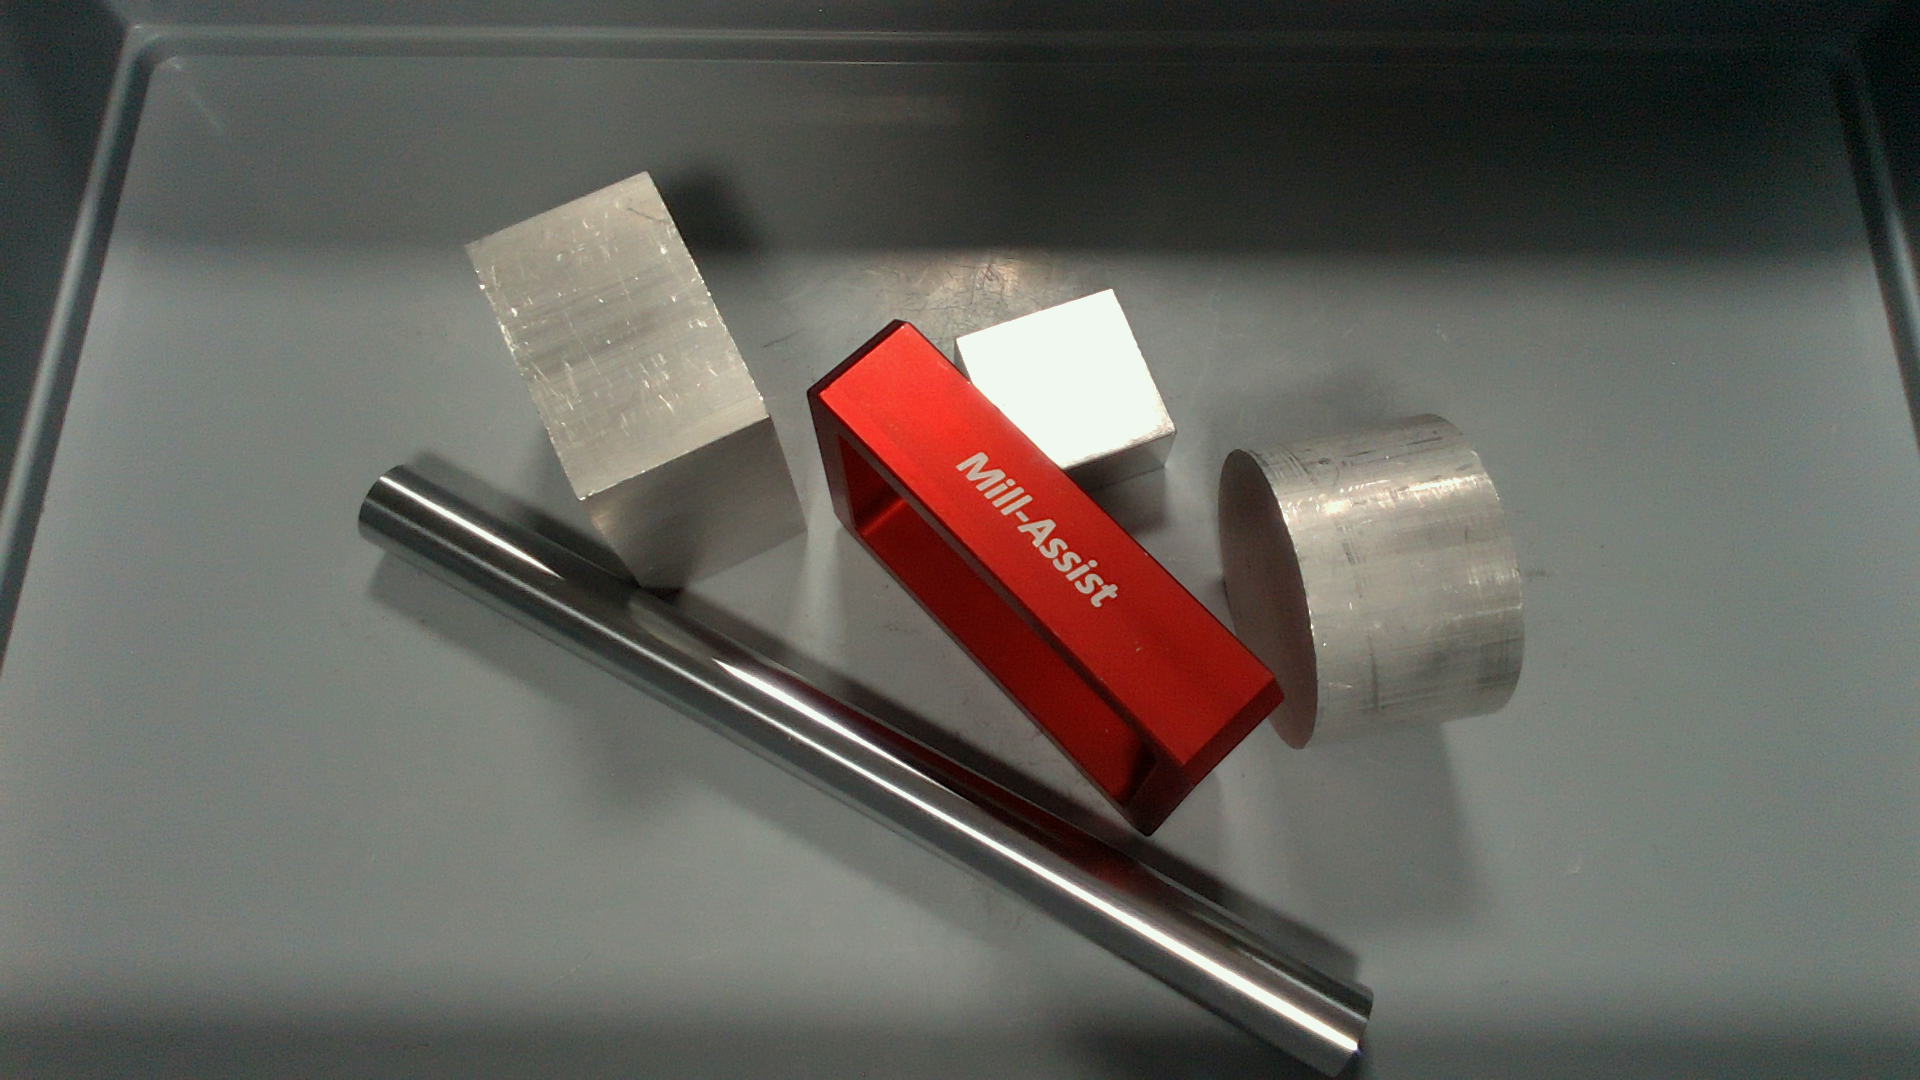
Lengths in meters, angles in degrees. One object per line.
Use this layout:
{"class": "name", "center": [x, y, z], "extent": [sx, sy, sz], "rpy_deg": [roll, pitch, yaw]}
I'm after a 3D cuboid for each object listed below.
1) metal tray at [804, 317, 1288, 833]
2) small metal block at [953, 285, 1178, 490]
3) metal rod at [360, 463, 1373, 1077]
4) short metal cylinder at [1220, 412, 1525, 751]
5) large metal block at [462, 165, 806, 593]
{"class": "metal tray", "center": [0.018, 0.013, 0.353], "extent": [0.030, 0.090, 0.130], "rpy_deg": [-41, 75, -14]}
{"class": "small metal block", "center": [0.030, -0.041, 0.407], "extent": [0.050, 0.025, 0.050], "rpy_deg": [-19, 71, -7]}
{"class": "metal rod", "center": [-0.033, 0.057, 0.373], "extent": [0.300, 0.025, 0.025], "rpy_deg": [27, 72, 9]}
{"class": "short metal cylinder", "center": [0.104, 0.011, 0.360], "extent": [0.050, 0.080, 0.080], "rpy_deg": [-11, 70, -3]}
{"class": "large metal block", "center": [-0.086, -0.040, 0.378], "extent": [0.050, 0.080, 0.080], "rpy_deg": [-25, 72, -9]}
